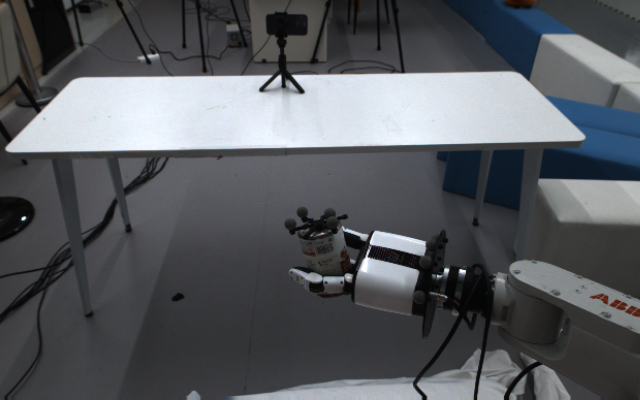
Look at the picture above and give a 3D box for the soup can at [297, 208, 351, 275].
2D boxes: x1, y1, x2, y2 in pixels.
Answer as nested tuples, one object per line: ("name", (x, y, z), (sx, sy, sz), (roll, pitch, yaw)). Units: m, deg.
("soup can", (0.012, 0.086, 0.724), (0.067, 0.101, 0.067), (-13, 20, 5))
